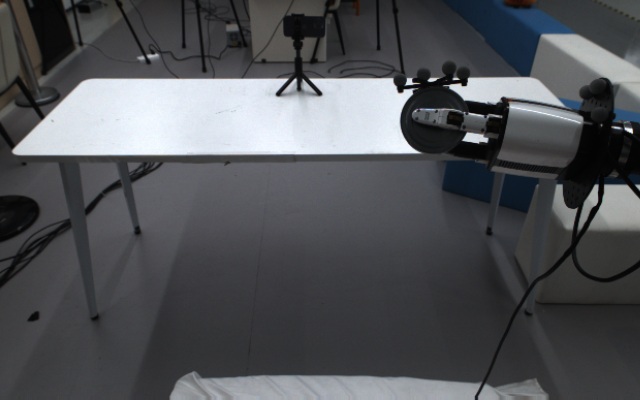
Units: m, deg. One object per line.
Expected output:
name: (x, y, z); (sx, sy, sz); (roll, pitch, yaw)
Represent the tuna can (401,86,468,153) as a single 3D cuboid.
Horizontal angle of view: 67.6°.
tuna can: (0.147, -0.103, 0.628); (0.085, 0.085, 0.034); (10, 3, 11)
